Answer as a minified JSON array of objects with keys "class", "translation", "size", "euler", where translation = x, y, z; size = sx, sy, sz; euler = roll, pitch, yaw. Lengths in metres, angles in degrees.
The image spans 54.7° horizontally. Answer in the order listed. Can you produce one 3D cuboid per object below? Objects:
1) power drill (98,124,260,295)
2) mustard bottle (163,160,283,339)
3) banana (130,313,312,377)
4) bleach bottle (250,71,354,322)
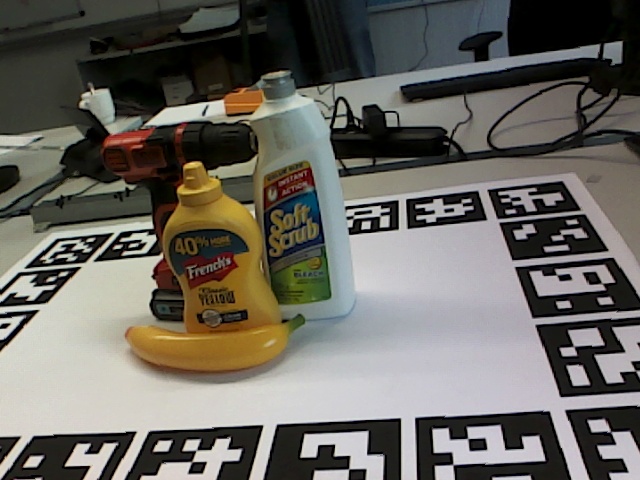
[{"class":"power drill","translation":[-0.136,-0.032,0.663],"size":[0.185,0.186,0.057],"euler":[1,27,20]},{"class":"mustard bottle","translation":[-0.100,0.014,0.603],"size":[0.096,0.191,0.058],"euler":[-5,26,9]},{"class":"banana","translation":[-0.108,0.105,0.617],"size":[0.198,0.039,0.074],"euler":[-6,28,15]},{"class":"bleach bottle","translation":[-0.029,-0.041,0.632],"size":[0.103,0.250,0.068],"euler":[-5,21,12]}]
